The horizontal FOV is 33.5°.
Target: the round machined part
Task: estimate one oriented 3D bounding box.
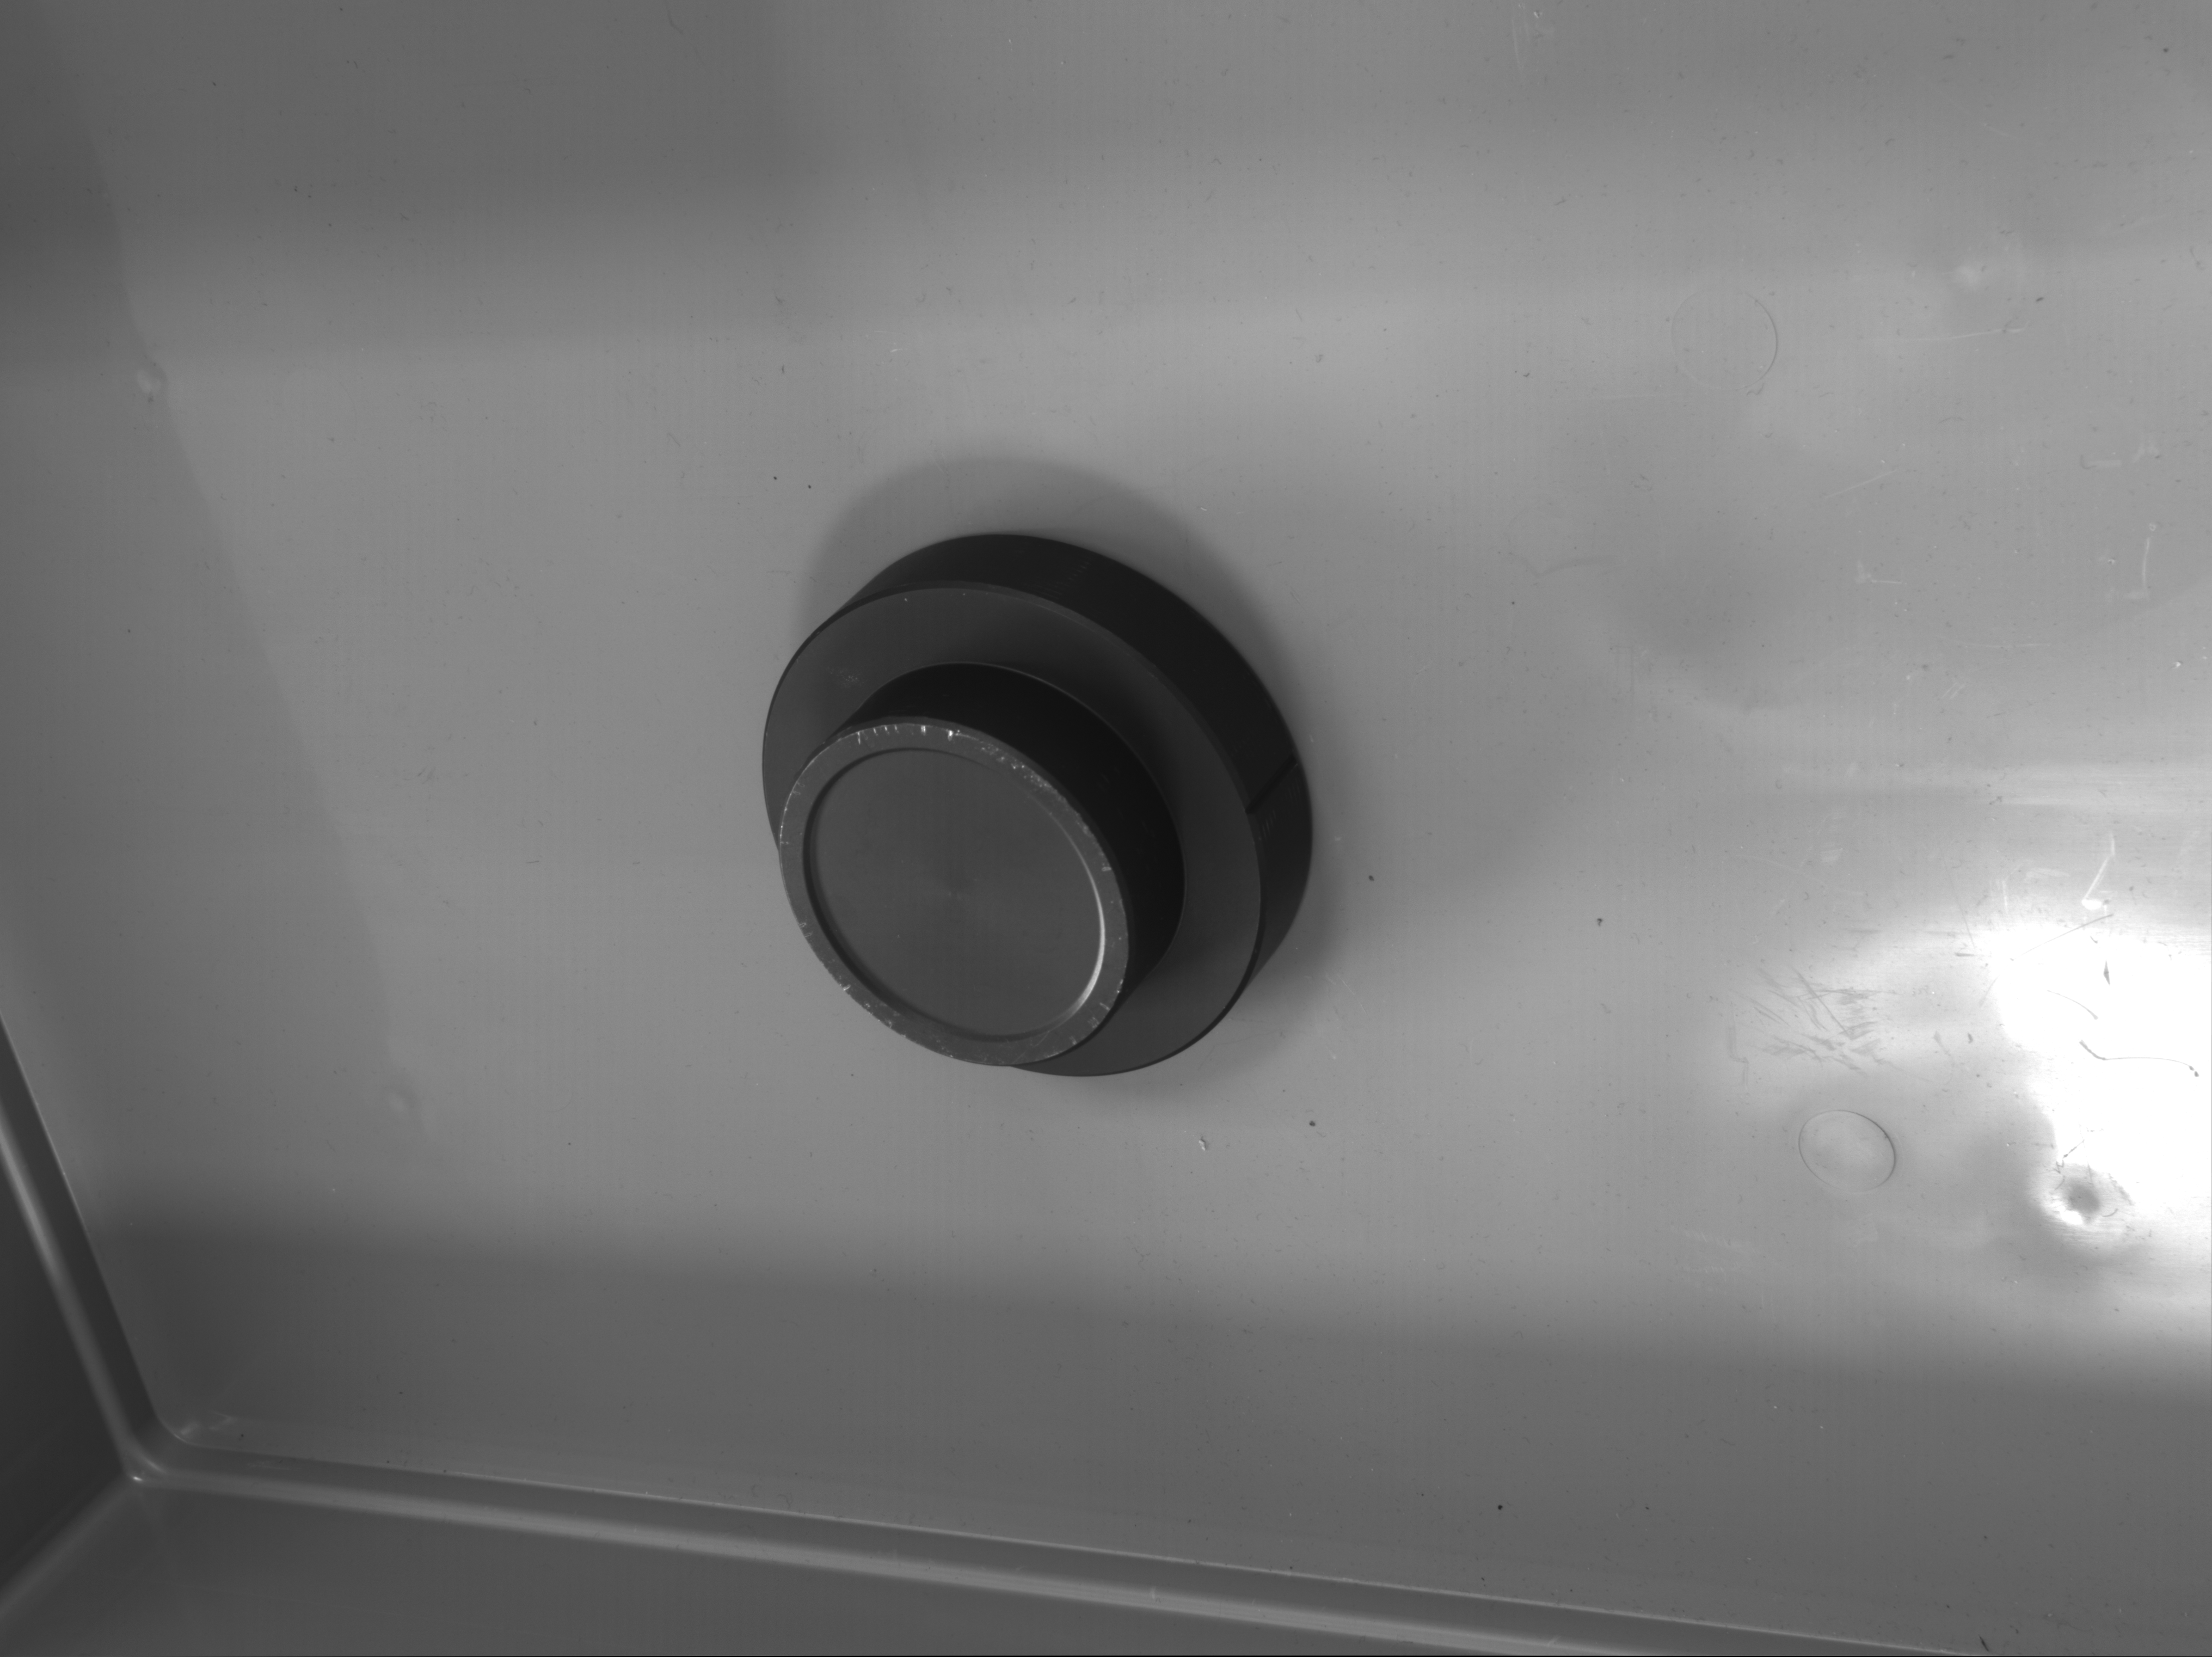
[{"bbox_3d":[-0.017,0.002,0.639,0.098,0.042,0.098,13,124,21],"label":"round machined part"}]
